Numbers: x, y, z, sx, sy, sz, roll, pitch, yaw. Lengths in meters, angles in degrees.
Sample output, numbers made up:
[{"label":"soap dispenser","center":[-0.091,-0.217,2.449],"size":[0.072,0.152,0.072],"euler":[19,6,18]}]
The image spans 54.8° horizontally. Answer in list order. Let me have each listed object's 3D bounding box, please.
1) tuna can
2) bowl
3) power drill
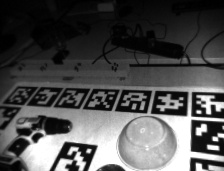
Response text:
[{"label":"tuna can","center":[0.000,0.205,0.481],"size":[0.085,0.034,0.085],"euler":[-6,40,6]},{"label":"bowl","center":[0.080,0.119,0.558],"size":[0.161,0.055,0.161],"euler":[-10,32,7]},{"label":"power drill","center":[-0.234,0.165,0.589],"size":[0.183,0.058,0.187],"euler":[2,40,15]}]
